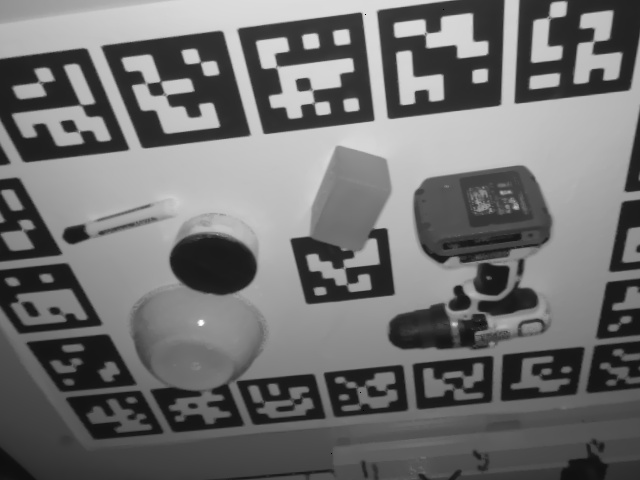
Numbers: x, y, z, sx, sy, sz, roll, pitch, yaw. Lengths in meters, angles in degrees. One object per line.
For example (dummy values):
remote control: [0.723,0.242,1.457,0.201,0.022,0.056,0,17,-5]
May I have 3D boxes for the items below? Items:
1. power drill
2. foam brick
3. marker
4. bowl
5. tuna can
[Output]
power drill: [0.163,0.033,0.701,0.184,0.058,0.186,-5,132,9]
foam brick: [0.032,-0.043,0.644,0.051,0.053,0.077,13,127,-9]
marker: [-0.194,-0.017,0.674,0.120,0.020,0.019,-14,126,11]
bowl: [-0.132,0.121,0.779,0.162,0.055,0.160,-3,136,-2]
tuna can: [-0.102,0.017,0.695,0.086,0.034,0.085,1,130,2]
